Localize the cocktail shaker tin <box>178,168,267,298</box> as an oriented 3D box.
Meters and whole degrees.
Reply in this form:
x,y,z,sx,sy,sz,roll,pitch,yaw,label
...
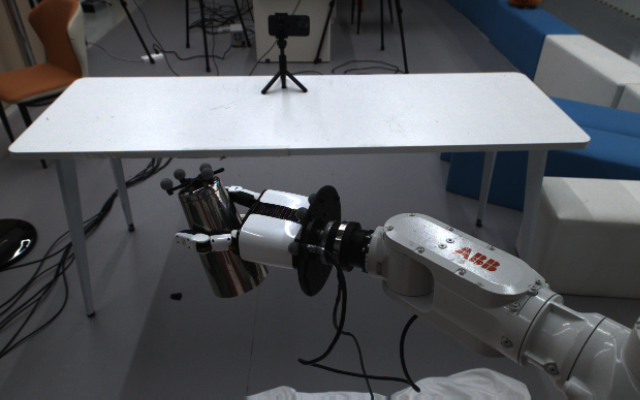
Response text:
x,y,z,sx,sy,sz,roll,pitch,yaw,label
-0.152,0.054,0.739,0.093,0.170,0.093,-17,21,7,cocktail shaker tin
